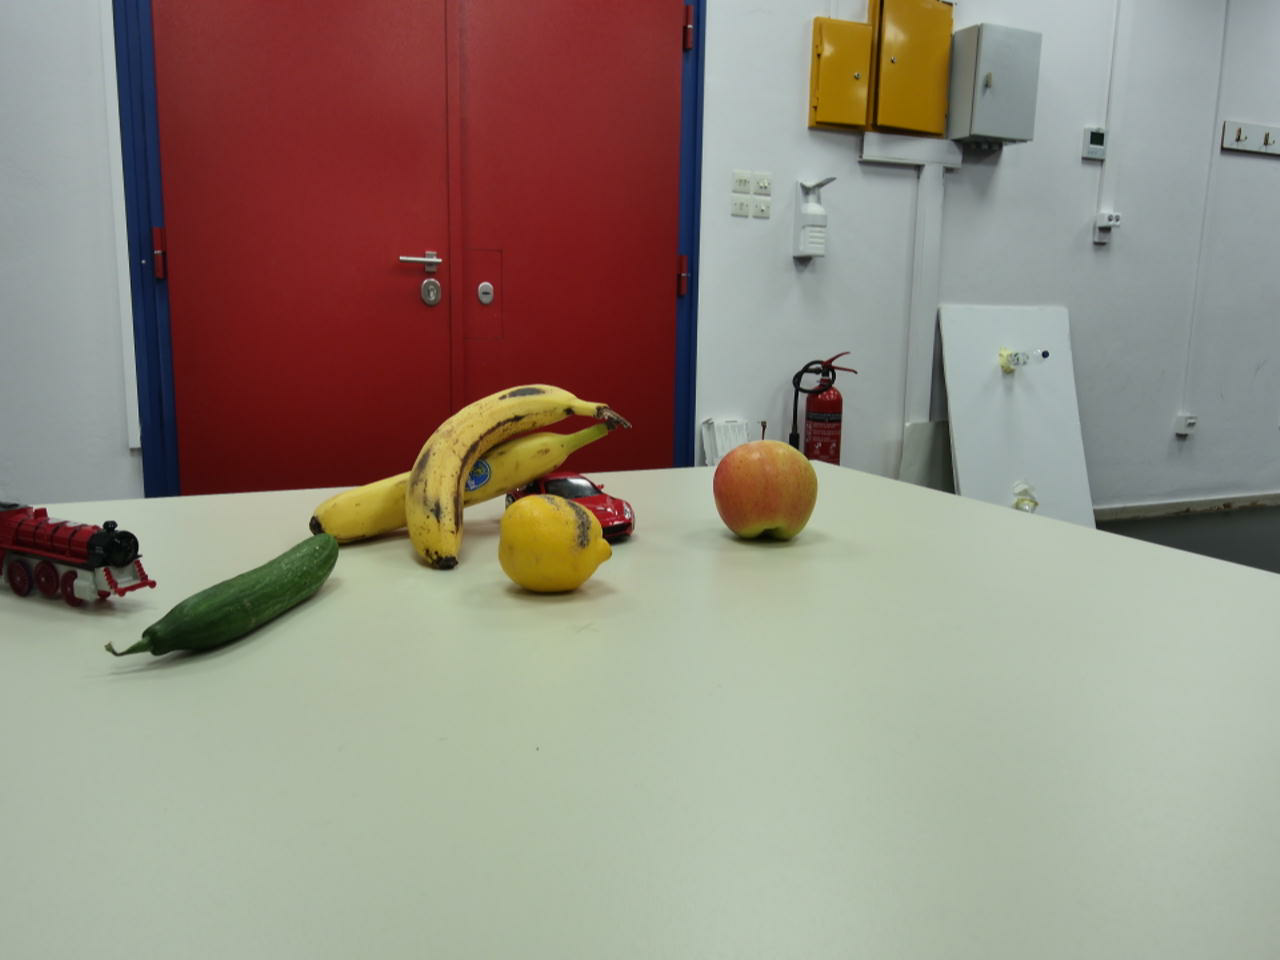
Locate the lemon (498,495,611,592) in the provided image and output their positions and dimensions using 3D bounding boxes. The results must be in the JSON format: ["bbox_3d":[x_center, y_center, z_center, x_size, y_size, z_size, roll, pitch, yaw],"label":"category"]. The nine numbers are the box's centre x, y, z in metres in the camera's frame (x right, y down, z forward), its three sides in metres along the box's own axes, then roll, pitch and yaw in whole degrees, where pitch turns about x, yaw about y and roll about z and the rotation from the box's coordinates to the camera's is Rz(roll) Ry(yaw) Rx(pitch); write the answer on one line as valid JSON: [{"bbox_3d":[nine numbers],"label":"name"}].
[{"bbox_3d":[-0.053,0.037,0.582,0.061,0.056,0.058,-4,9,-32],"label":"lemon"}]
